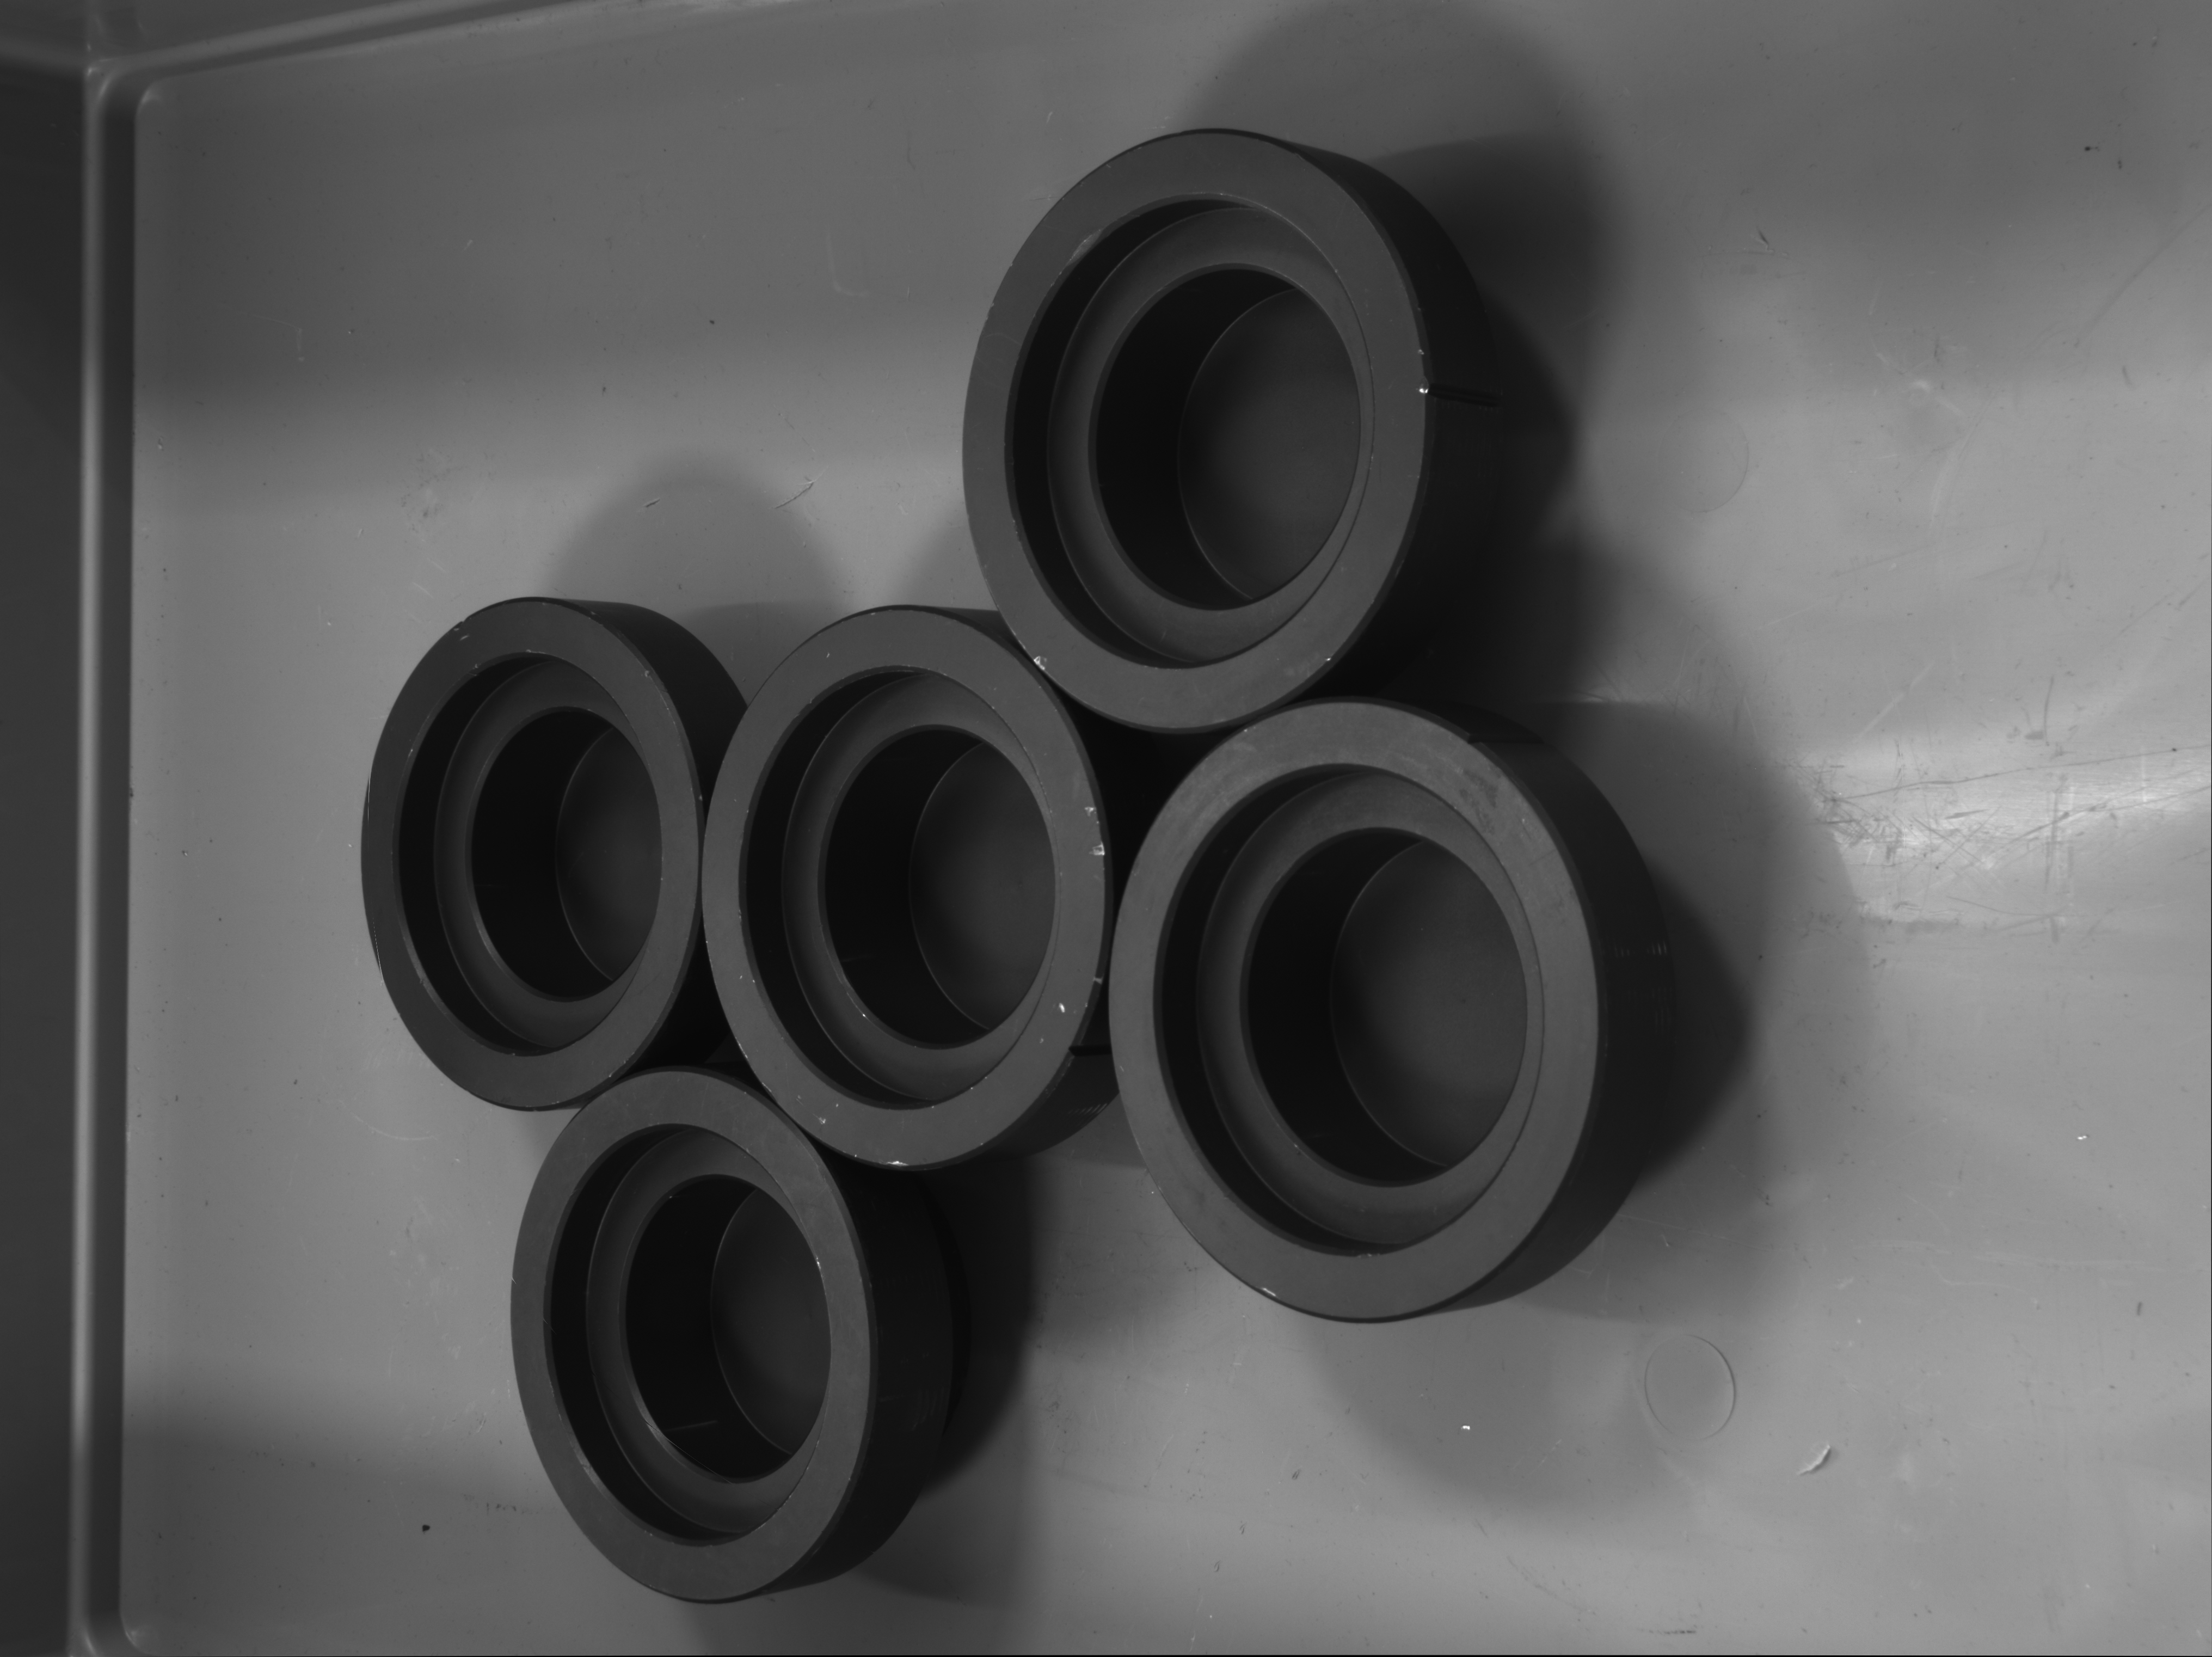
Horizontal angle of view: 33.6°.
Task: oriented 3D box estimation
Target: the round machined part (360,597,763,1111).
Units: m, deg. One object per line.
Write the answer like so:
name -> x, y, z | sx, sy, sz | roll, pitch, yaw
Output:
round machined part -> -0.098, 0.005, 0.714 | 0.098, 0.042, 0.098 | 0, 90, 40

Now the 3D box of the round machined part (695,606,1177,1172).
round machined part -> -0.024, 0.010, 0.651 | 0.098, 0.042, 0.098 | 0, 90, 40

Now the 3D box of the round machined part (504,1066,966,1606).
round machined part -> -0.065, 0.093, 0.685 | 0.098, 0.042, 0.098 | 0, 90, 40

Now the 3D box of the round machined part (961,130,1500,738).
round machined part -> 0.025, -0.064, 0.610 | 0.098, 0.042, 0.098 | 0, 90, 40

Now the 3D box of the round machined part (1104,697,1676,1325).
round machined part -> 0.050, 0.029, 0.589 | 0.098, 0.042, 0.098 | 0, 90, 40
